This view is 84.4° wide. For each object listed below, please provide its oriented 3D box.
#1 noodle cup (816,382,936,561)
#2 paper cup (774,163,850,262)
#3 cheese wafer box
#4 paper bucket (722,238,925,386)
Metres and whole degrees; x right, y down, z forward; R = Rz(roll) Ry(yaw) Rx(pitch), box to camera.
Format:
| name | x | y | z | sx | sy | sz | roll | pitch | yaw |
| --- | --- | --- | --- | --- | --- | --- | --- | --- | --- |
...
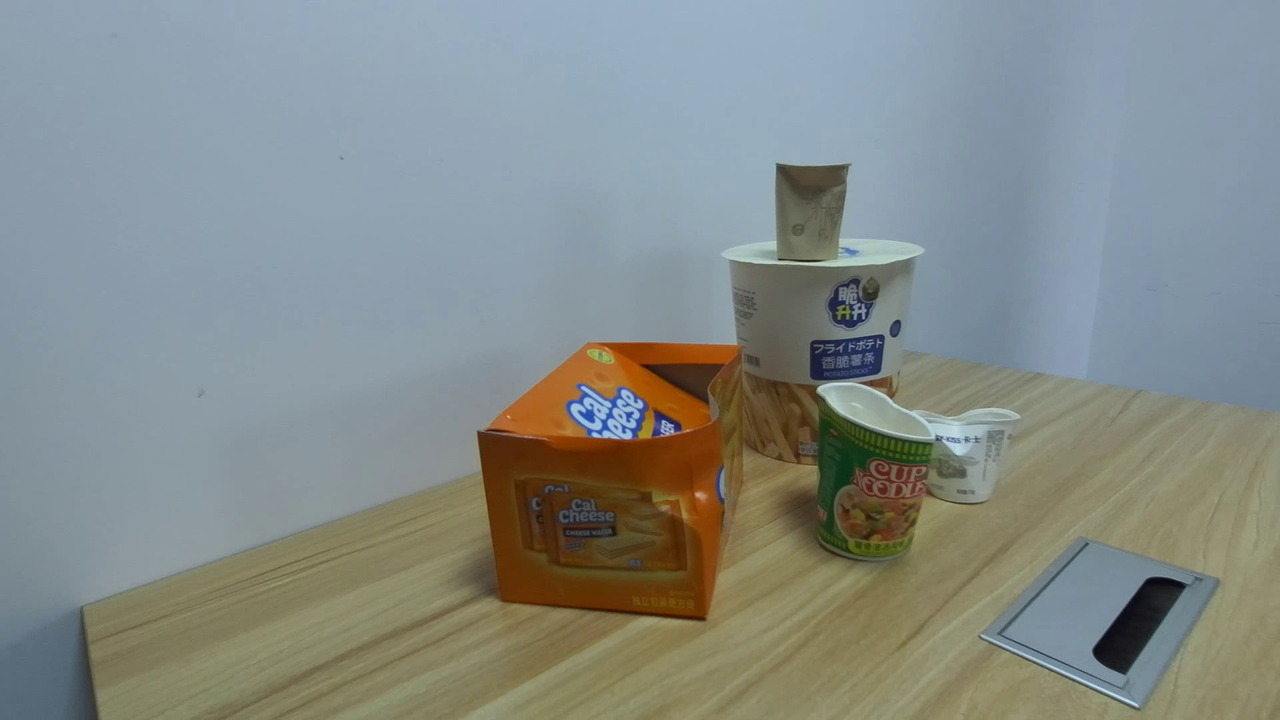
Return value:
| name | x | y | z | sx | sy | sz | roll | pitch | yaw |
| --- | --- | --- | --- | --- | --- | --- | --- | --- | --- |
| noodle cup | 0.166 | 0.081 | 0.514 | 0.070 | 0.111 | 0.115 | -1 | 17 | 12 |
| paper cup | 0.152 | -0.132 | 0.627 | 0.066 | 0.084 | 0.072 | 2 | 11 | 17 |
| cheese wafer box | -0.002 | 0.077 | 0.541 | 0.152 | 0.132 | 0.231 | 3 | 16 | 14 |
| paper bucket | 0.175 | -0.013 | 0.702 | 0.198 | 0.194 | 0.198 | -2 | 16 | 1 |
